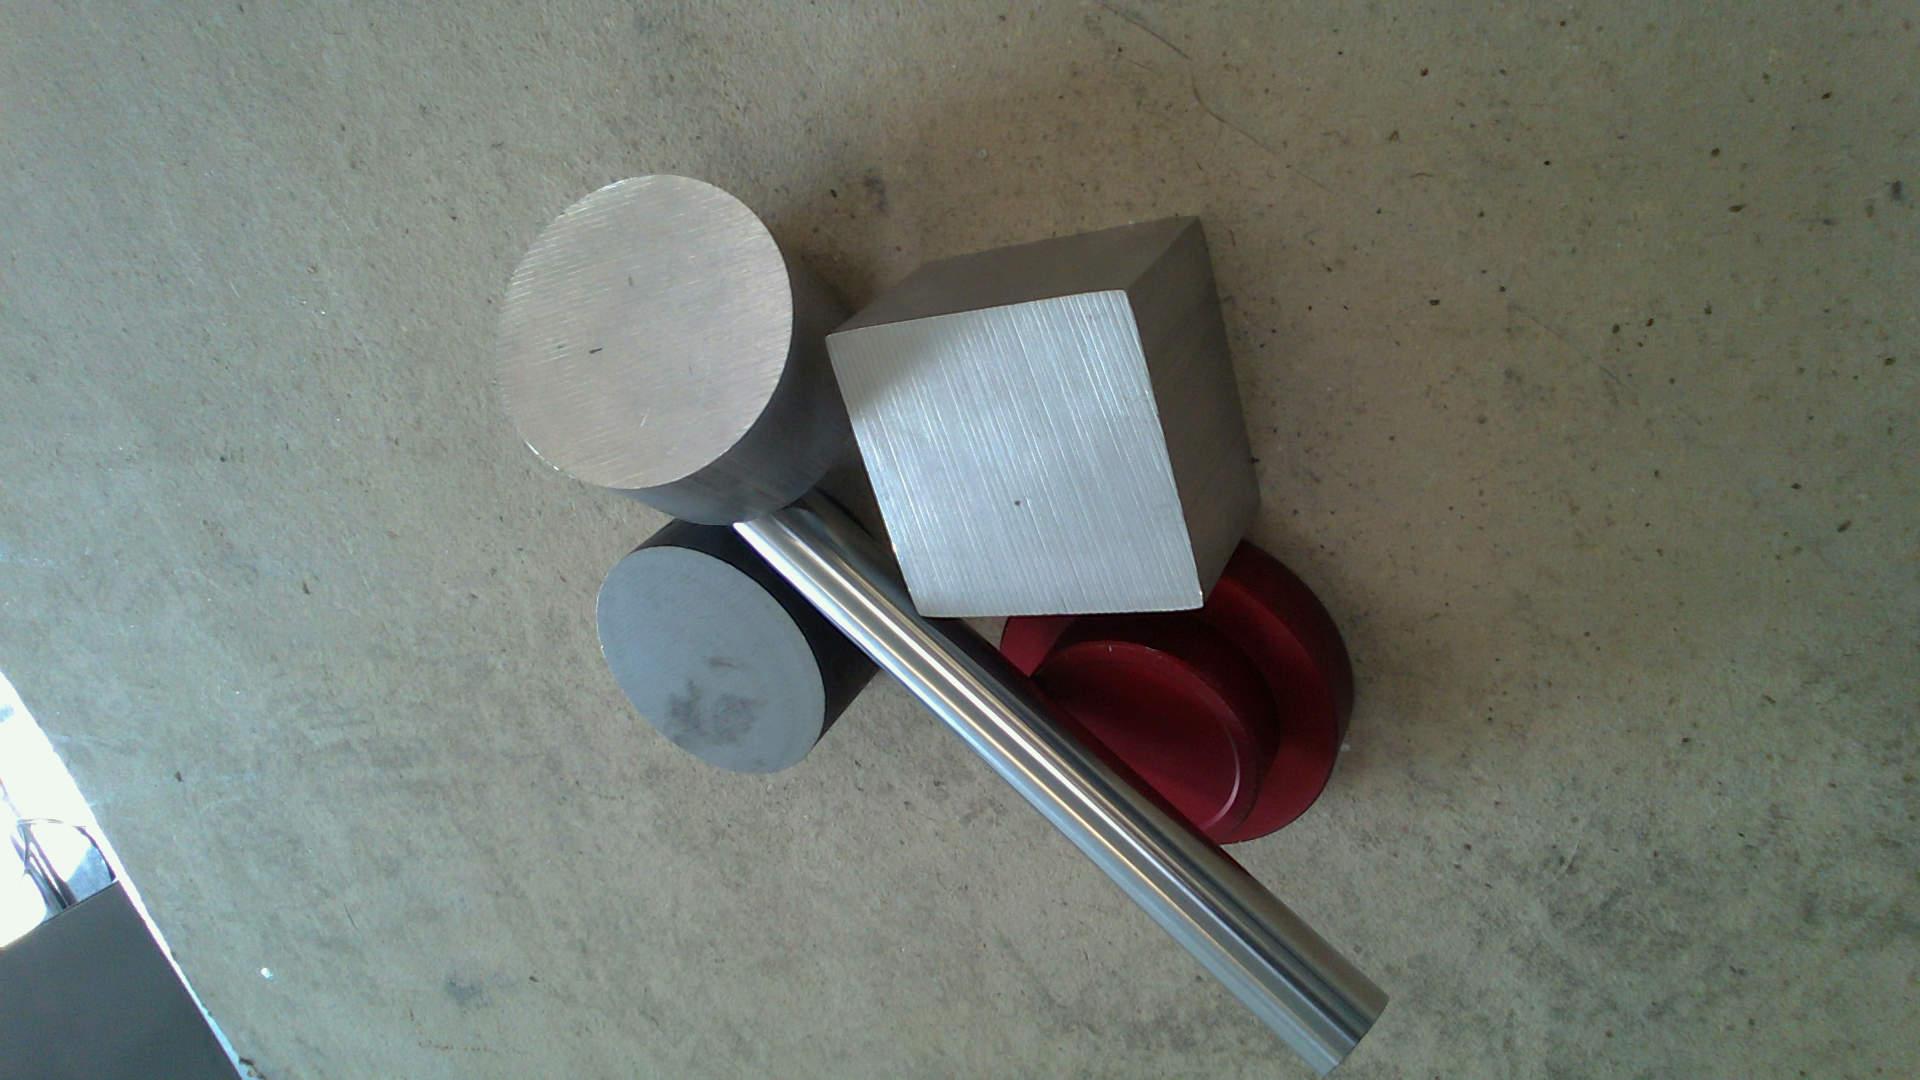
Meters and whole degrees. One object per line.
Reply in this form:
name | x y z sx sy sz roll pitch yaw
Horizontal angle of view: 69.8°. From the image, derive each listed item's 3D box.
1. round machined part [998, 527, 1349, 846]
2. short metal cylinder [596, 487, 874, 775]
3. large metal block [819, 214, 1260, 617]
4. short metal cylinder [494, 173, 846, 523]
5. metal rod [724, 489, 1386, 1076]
round machined part | 0.054 0.047 0.381 0.098 0.042 0.098 13 124 21
short metal cylinder | -0.065 0.026 0.429 0.080 0.050 0.080 13 124 21
large metal block | 0.022 -0.029 0.344 0.080 0.050 0.080 -3 117 30
short metal cylinder | -0.073 -0.048 0.362 0.080 0.050 0.080 -2 80 14
metal rod | -0.015 0.025 0.373 0.299 0.025 0.025 41 131 18
